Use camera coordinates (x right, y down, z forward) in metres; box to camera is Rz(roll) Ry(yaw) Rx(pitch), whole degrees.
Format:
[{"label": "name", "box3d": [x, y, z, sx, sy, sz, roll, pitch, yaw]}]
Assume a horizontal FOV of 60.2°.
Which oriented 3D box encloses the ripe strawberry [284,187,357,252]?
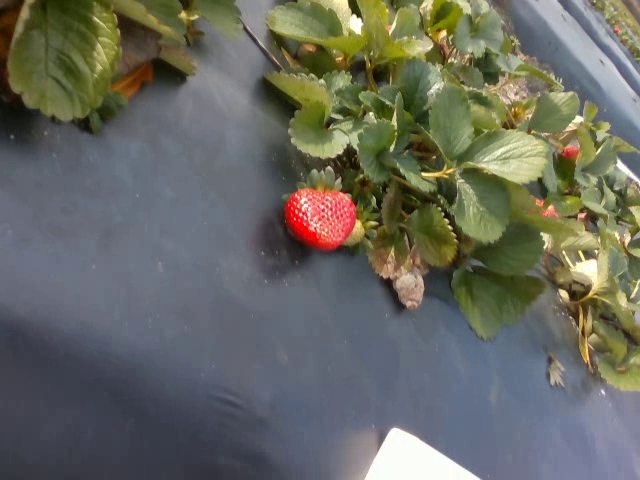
[{"label": "ripe strawberry", "box3d": [0.002, -0.011, 0.310, 0.050, 0.045, 0.058, -37, 28, 18]}]
